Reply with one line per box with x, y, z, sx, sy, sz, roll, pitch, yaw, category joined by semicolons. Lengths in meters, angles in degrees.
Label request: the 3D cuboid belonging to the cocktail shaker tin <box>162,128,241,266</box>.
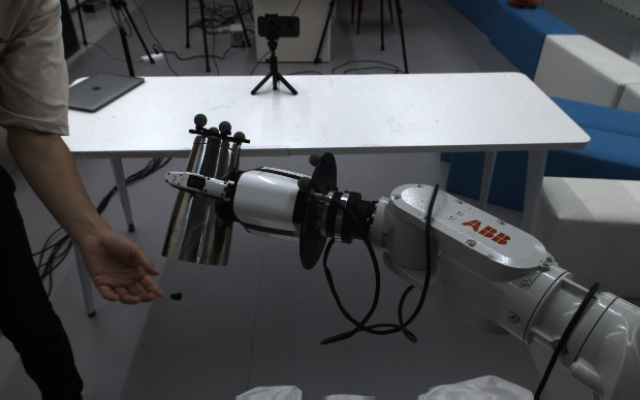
-0.159;0.001;0.679;0.093;0.170;0.093;10;-5;1;cocktail shaker tin
